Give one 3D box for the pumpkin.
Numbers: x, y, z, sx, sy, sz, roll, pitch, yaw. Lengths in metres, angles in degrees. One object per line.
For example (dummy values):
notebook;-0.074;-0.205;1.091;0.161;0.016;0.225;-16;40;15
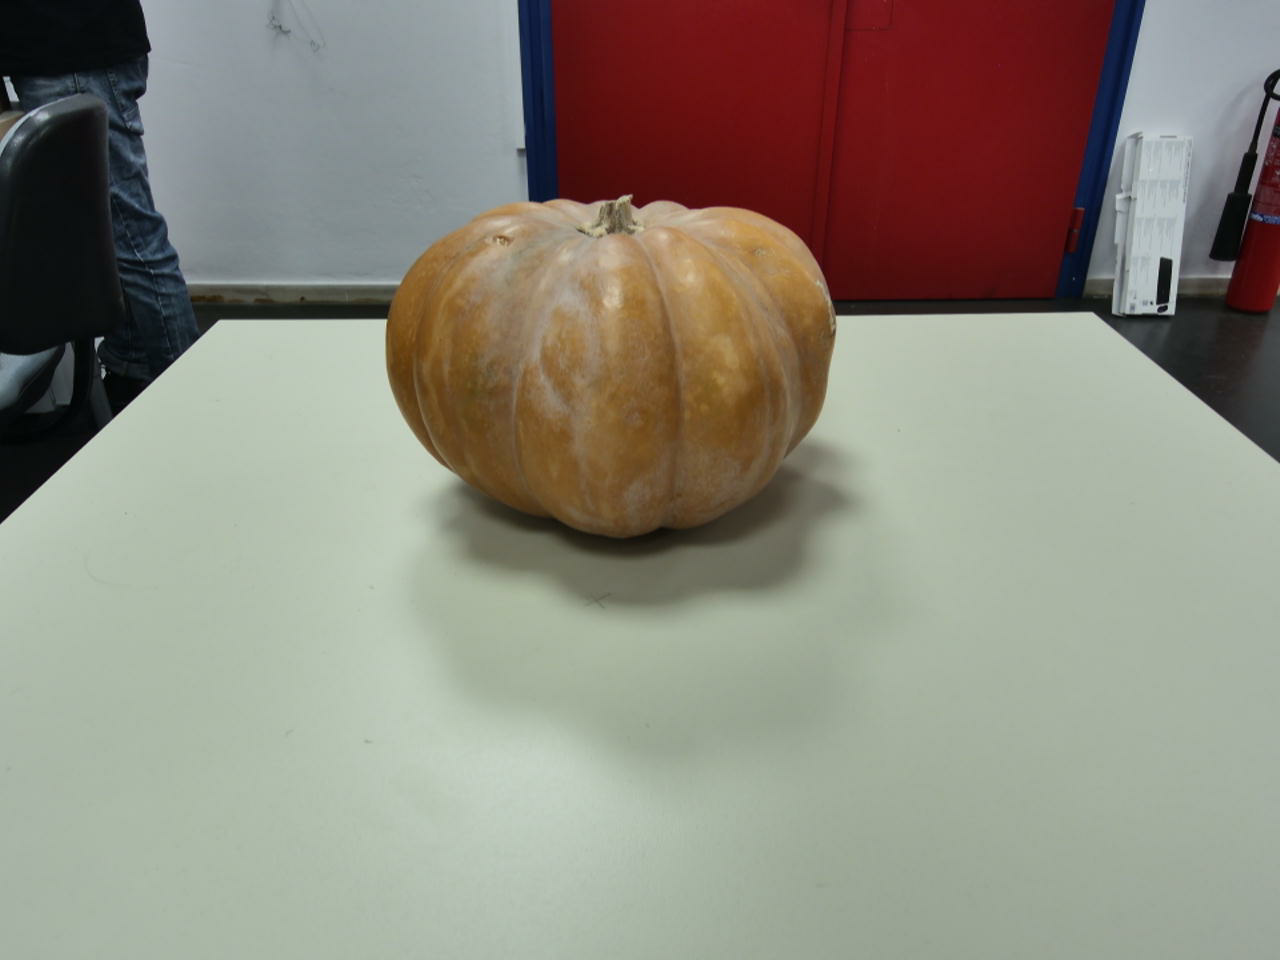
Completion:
pumpkin;-0.015;-0.077;0.602;0.277;0.181;0.277;0;26;0
